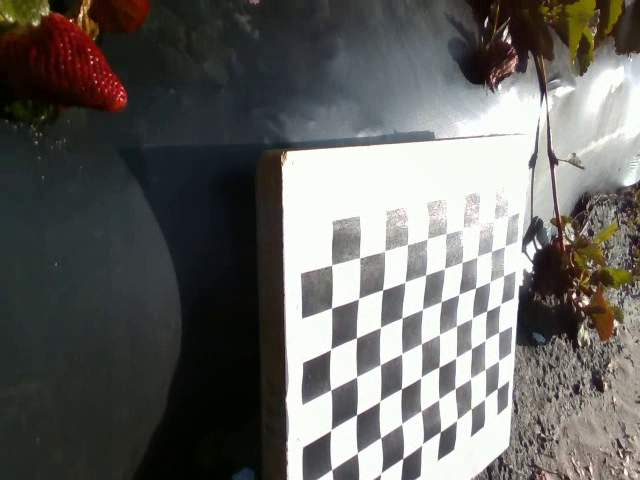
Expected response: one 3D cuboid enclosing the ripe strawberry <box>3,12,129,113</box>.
[{"bbox_3d":[-0.096,-0.062,0.247,0.056,0.041,0.041,29,-17,-3],"label":"ripe strawberry"}]
